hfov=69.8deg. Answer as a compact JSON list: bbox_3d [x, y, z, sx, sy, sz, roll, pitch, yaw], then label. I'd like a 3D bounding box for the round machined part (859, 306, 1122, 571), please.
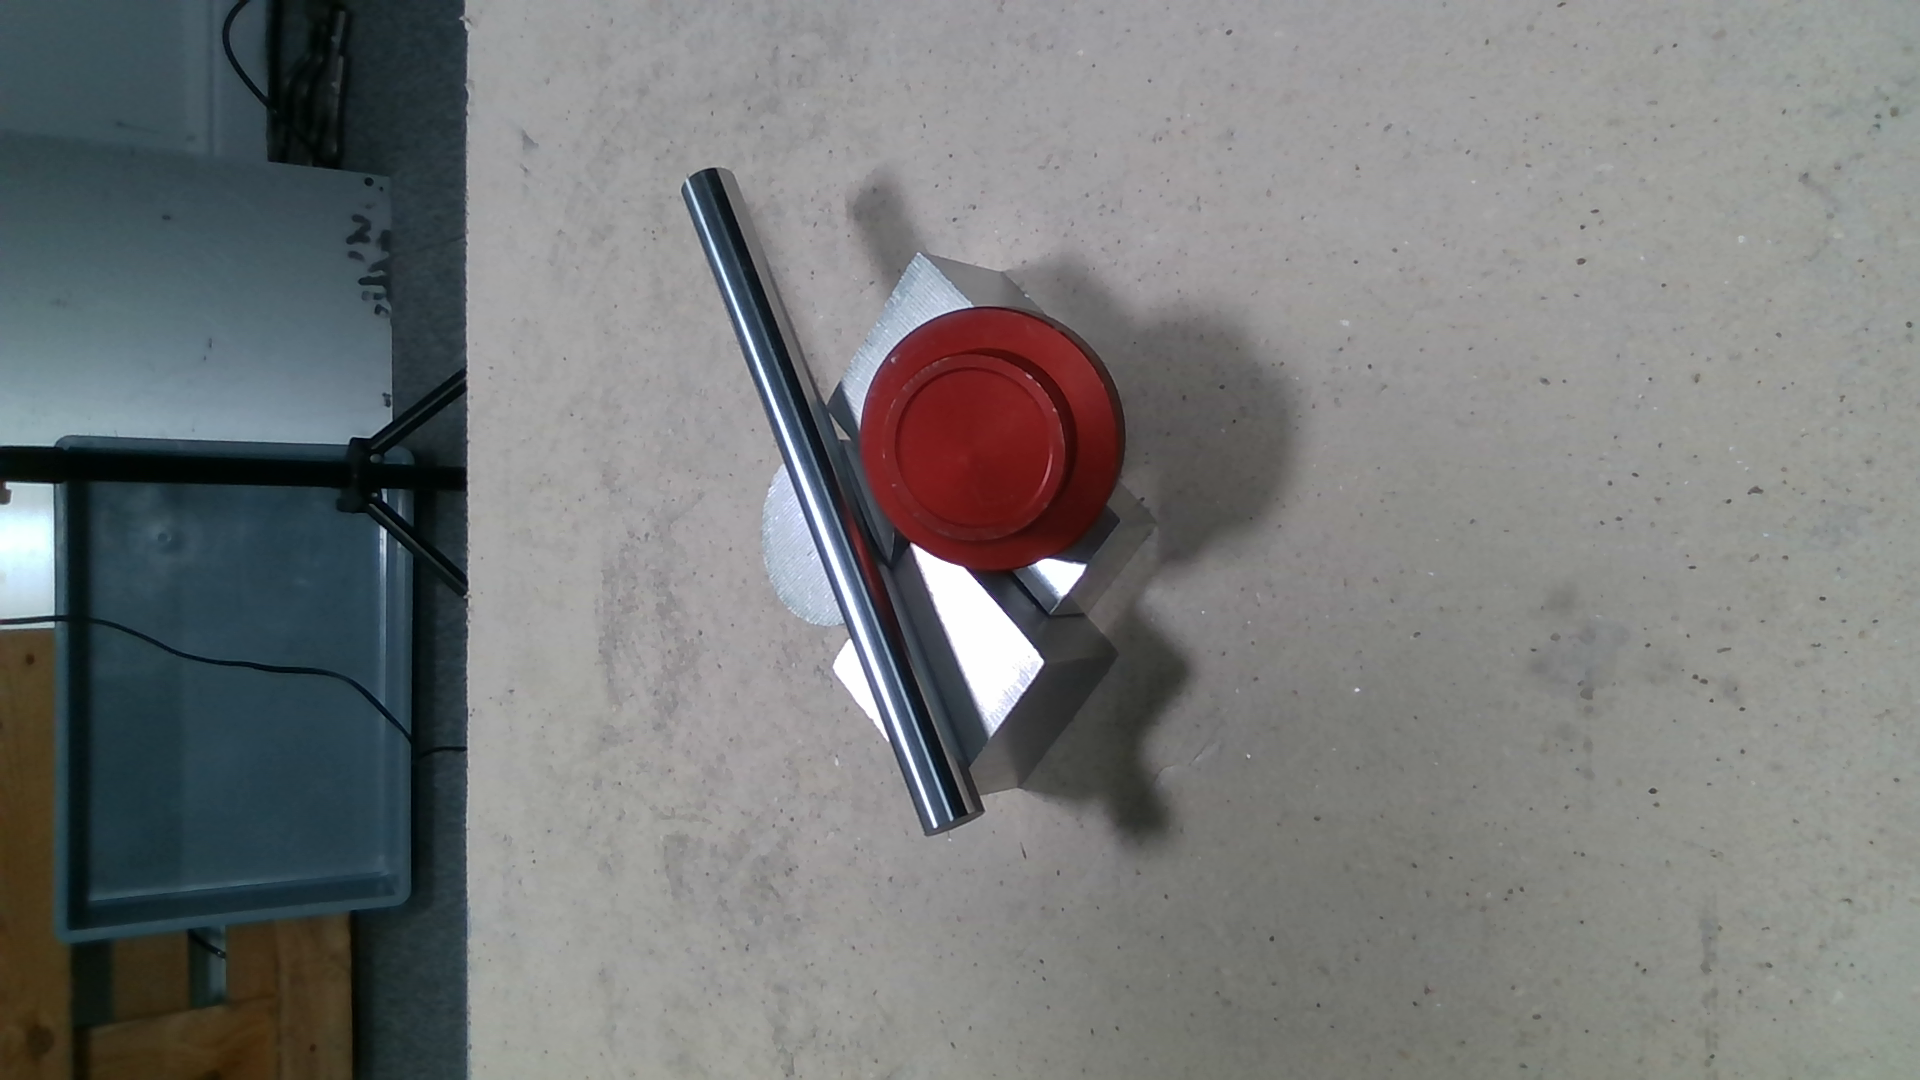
[{"bbox_3d":[0.009,-0.036,0.505,0.098,0.042,0.098,3,102,14],"label":"round machined part"}]

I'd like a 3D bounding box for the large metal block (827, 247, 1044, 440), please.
[{"bbox_3d":[0.003,-0.060,0.562,0.080,0.050,0.080,50,120,28],"label":"large metal block"}]

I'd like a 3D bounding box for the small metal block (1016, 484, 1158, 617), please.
[{"bbox_3d":[0.042,-0.005,0.546,0.050,0.025,0.050,50,120,28],"label":"small metal block"}]

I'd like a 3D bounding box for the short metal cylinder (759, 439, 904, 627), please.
[{"bbox_3d":[-0.042,-0.003,0.601,0.080,0.050,0.080,0,91,40],"label":"short metal cylinder"}]

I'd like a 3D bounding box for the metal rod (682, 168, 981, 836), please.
[{"bbox_3d":[-0.057,-0.024,0.565,0.025,0.025,0.299,-35,68,35],"label":"metal rod"}]

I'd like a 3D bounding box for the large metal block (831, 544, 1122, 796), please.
[{"bbox_3d":[0.005,0.049,0.562,0.080,0.050,0.080,49,119,29],"label":"large metal block"}]
